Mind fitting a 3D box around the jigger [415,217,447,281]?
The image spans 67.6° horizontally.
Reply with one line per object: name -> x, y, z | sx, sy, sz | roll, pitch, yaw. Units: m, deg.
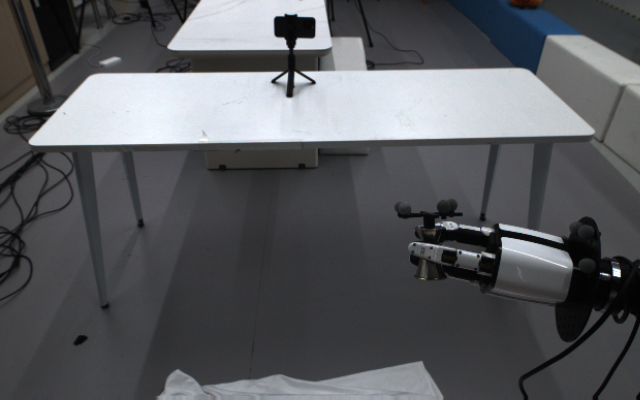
jigger -> 0.147, 0.069, 0.651 | 0.043, 0.071, 0.043 | -2, 3, 0
